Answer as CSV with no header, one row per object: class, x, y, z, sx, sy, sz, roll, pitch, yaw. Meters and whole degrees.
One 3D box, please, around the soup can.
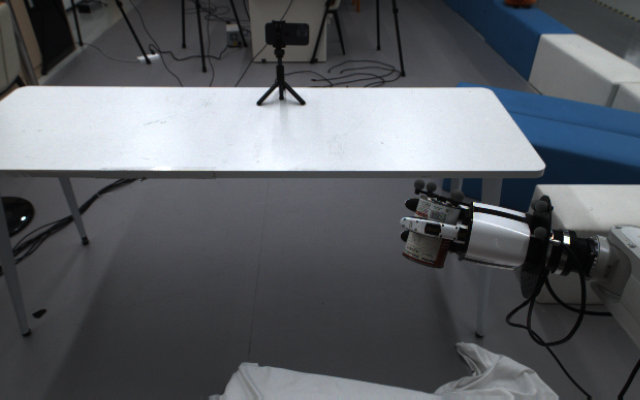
soup can,0.179,0.049,0.770,0.067,0.101,0.067,15,7,-2
